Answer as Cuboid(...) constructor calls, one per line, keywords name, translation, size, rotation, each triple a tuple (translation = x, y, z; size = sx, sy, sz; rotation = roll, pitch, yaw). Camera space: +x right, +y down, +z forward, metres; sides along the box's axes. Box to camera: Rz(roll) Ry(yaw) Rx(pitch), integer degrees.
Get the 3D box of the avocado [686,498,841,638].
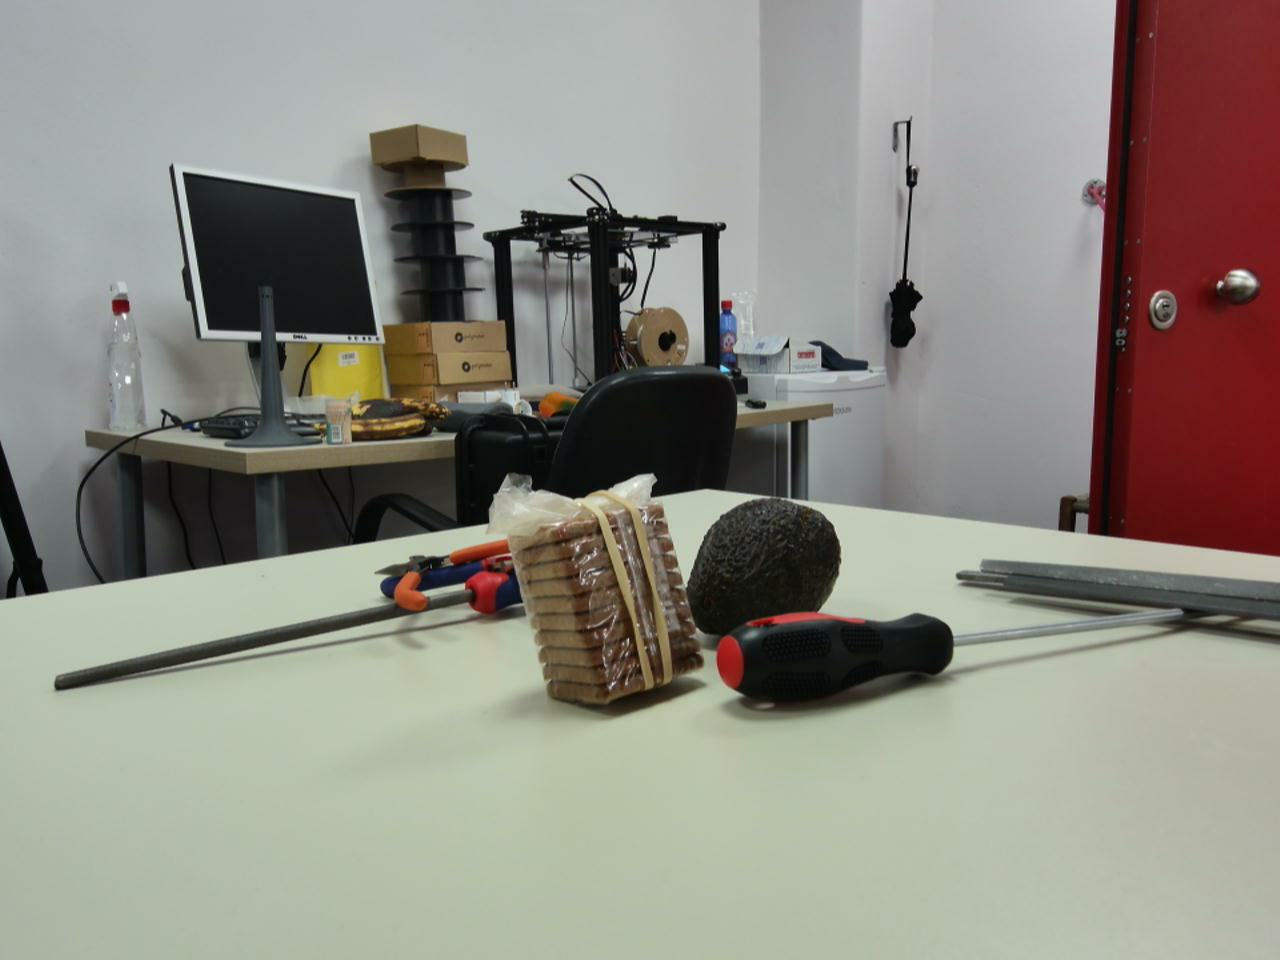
Cuboid(name="avocado", translation=(0.063, 0.044, 0.527), size=(0.090, 0.069, 0.070), rotation=(-1, 5, -17))
